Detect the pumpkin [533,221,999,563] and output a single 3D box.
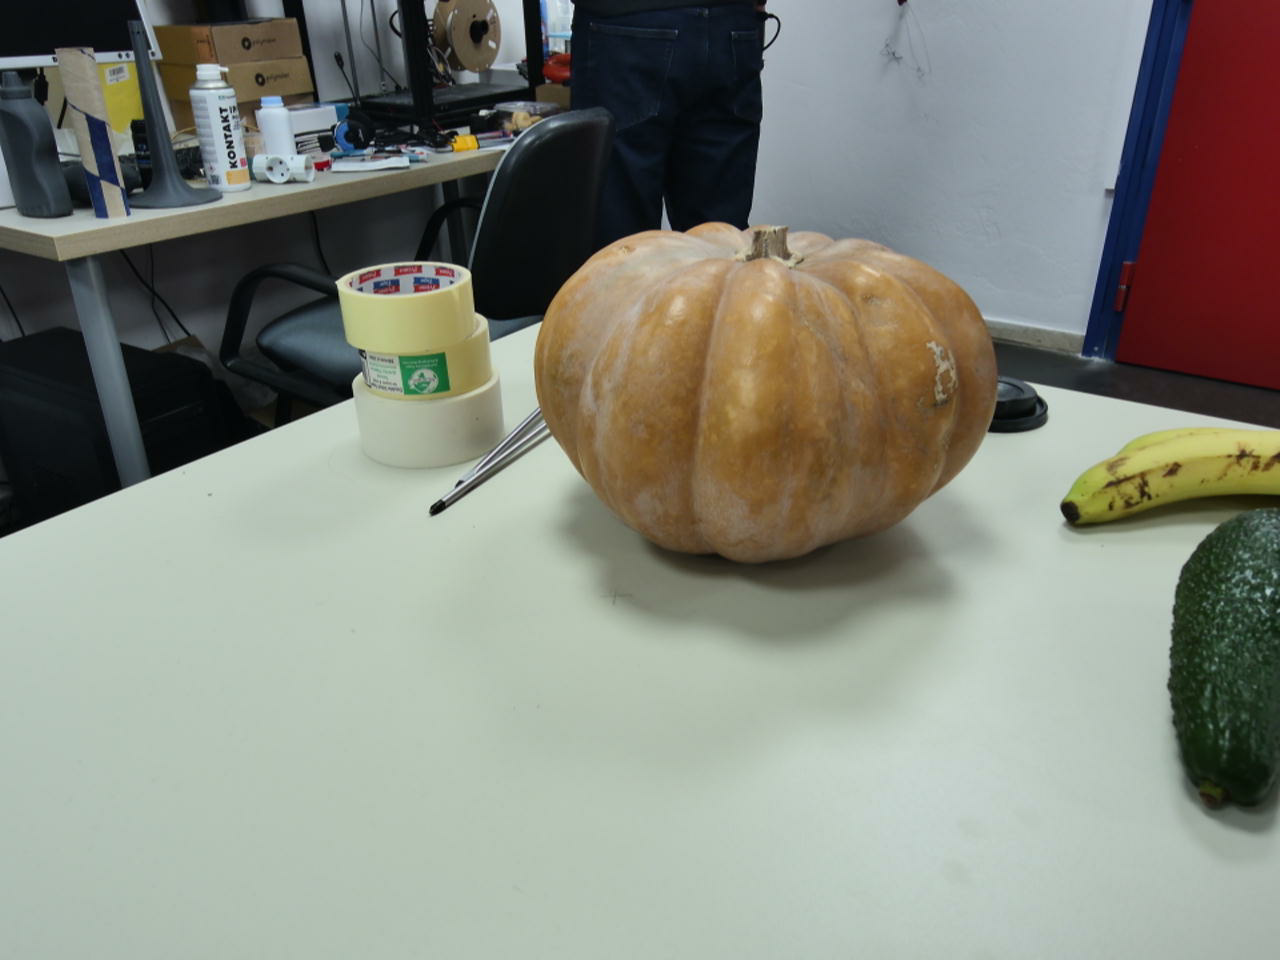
[{"bbox_3d":[0.067,-0.061,0.603,0.277,0.181,0.277,0,25,0],"label":"pumpkin"}]
